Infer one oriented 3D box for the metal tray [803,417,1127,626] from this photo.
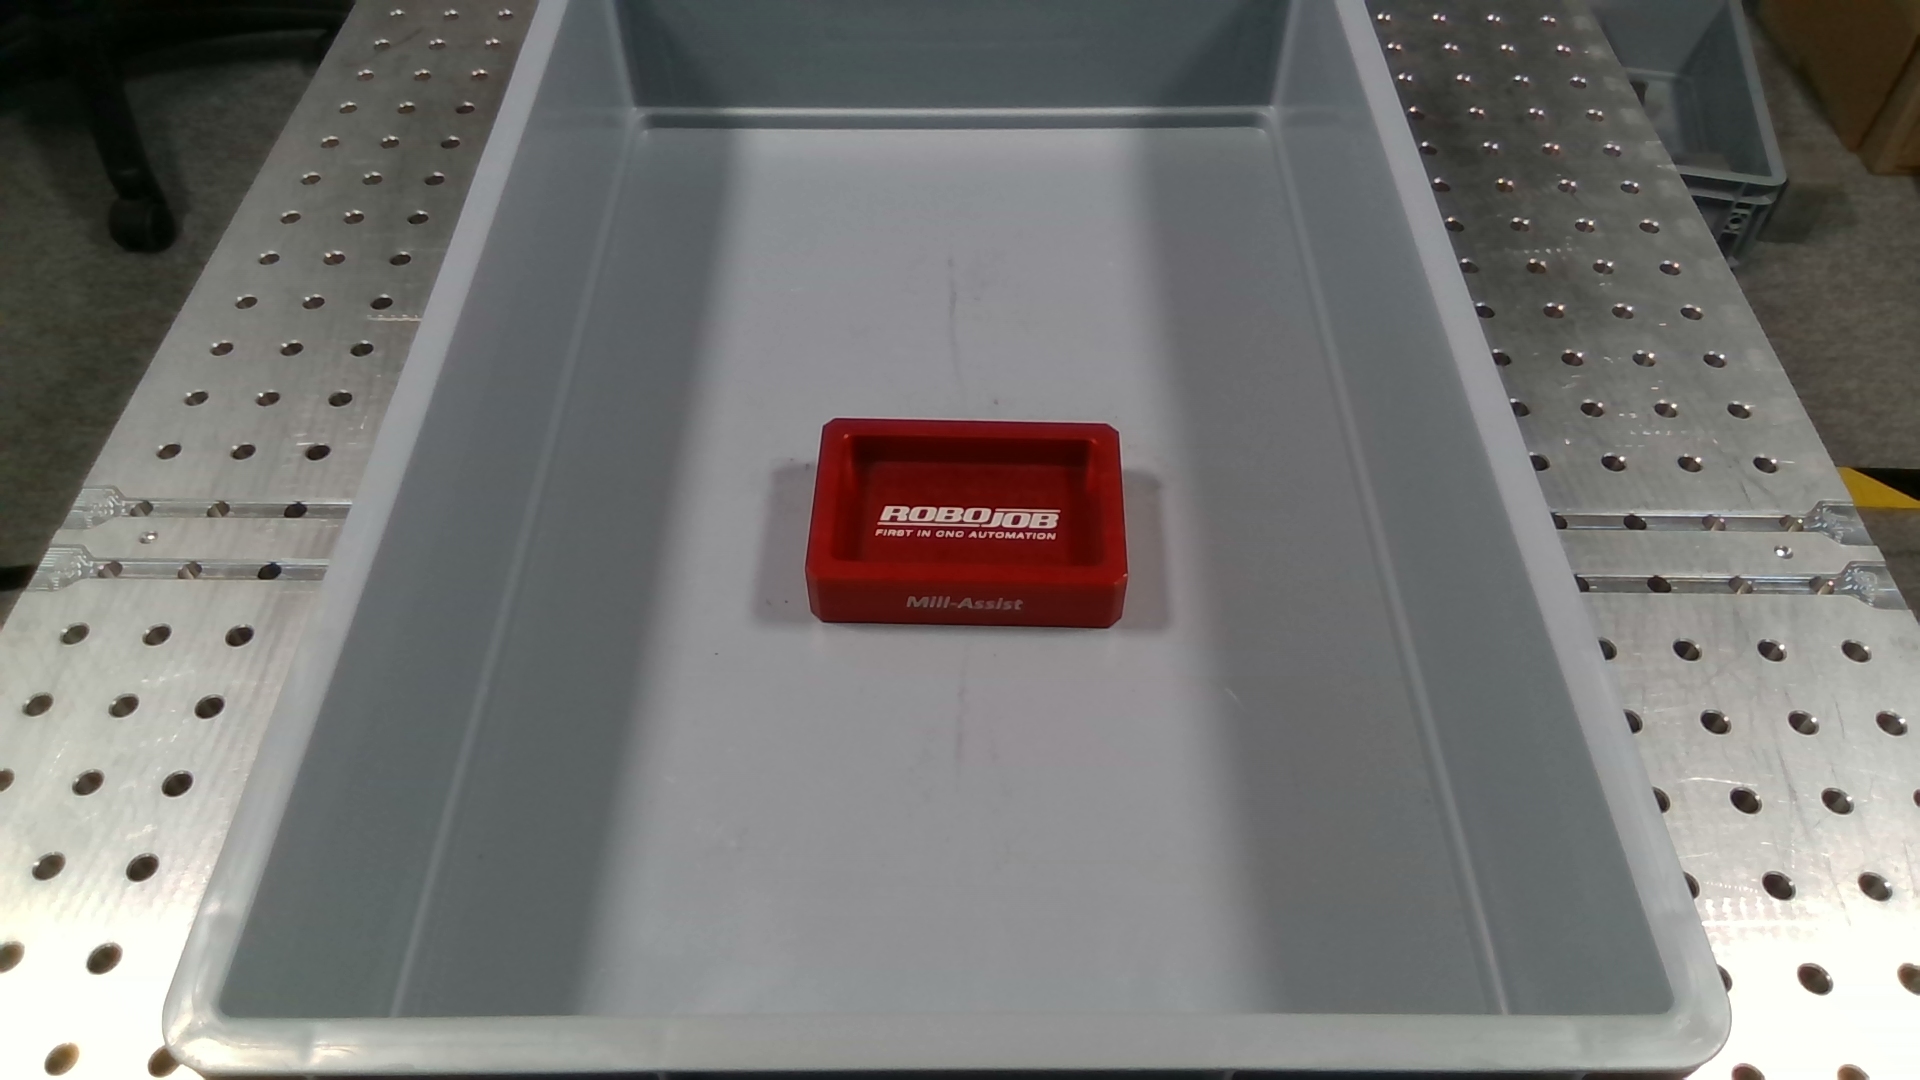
[{"bbox_3d":[0.003,-0.009,0.588,0.130,0.030,0.090,1,51,1],"label":"metal tray"}]
